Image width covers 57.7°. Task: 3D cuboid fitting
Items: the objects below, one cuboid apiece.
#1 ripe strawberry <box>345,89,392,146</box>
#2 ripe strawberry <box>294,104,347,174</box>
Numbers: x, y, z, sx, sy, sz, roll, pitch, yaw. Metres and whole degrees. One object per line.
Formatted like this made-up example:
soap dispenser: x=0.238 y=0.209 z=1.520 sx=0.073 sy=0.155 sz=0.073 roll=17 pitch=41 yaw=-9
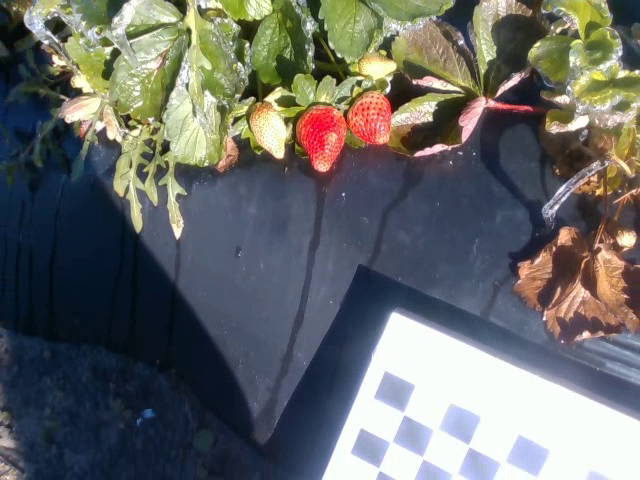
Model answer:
ripe strawberry: x=0.038 y=-0.082 z=0.395 sx=0.036 sy=0.041 sz=0.030 roll=-42 pitch=-11 yaw=18
ripe strawberry: x=0.003 y=-0.063 z=0.390 sx=0.036 sy=0.051 sz=0.040 roll=-16 pitch=-35 yaw=18
